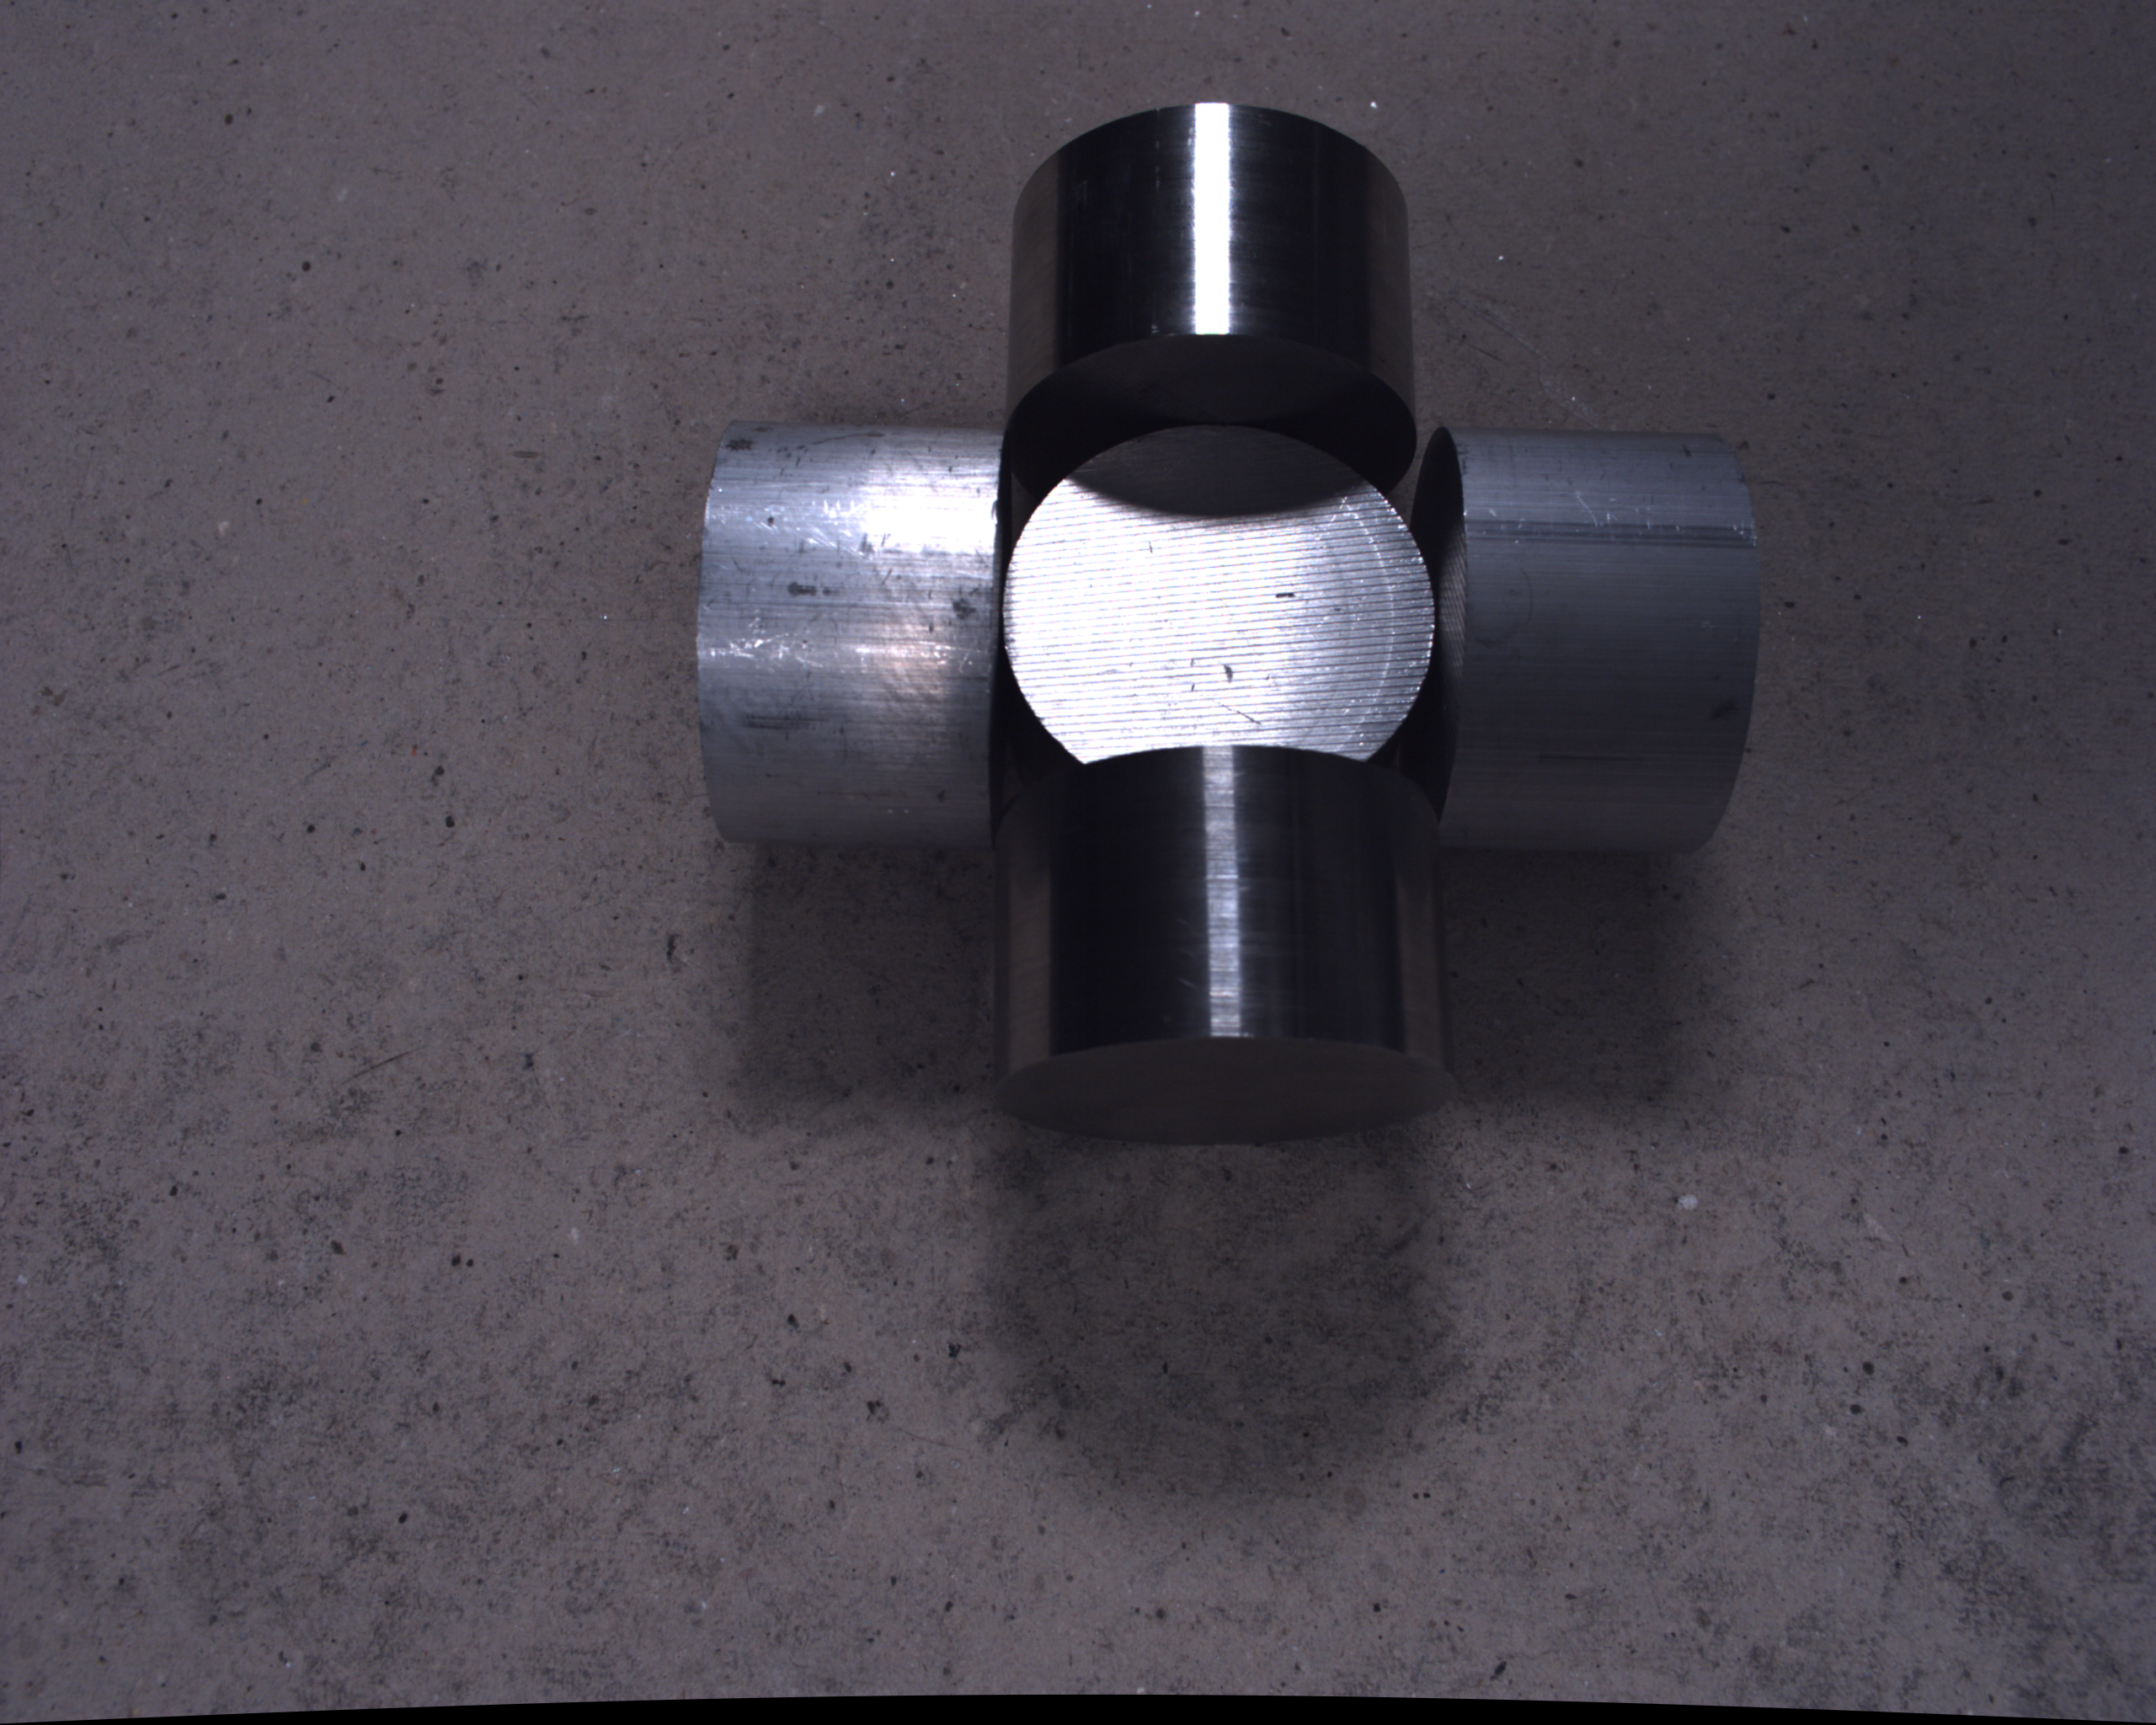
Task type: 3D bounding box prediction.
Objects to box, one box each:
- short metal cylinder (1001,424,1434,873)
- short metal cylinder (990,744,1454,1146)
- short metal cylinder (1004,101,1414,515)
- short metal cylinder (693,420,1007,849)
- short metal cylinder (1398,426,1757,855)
[{"bbox_3d":[0.026,-0.039,0.411,0.081,0.050,0.080,0,70,0],"label":"short metal cylinder"},{"bbox_3d":[0.025,0.018,0.374,0.081,0.080,0.050,0,70,0],"label":"short metal cylinder"},{"bbox_3d":[0.026,-0.106,0.418,0.081,0.080,0.050,2,71,0],"label":"short metal cylinder"},{"bbox_3d":[-0.040,-0.043,0.396,0.050,0.080,0.080,2,70,1],"label":"short metal cylinder"},{"bbox_3d":[0.091,-0.042,0.397,0.050,0.080,0.080,2,70,1],"label":"short metal cylinder"}]
